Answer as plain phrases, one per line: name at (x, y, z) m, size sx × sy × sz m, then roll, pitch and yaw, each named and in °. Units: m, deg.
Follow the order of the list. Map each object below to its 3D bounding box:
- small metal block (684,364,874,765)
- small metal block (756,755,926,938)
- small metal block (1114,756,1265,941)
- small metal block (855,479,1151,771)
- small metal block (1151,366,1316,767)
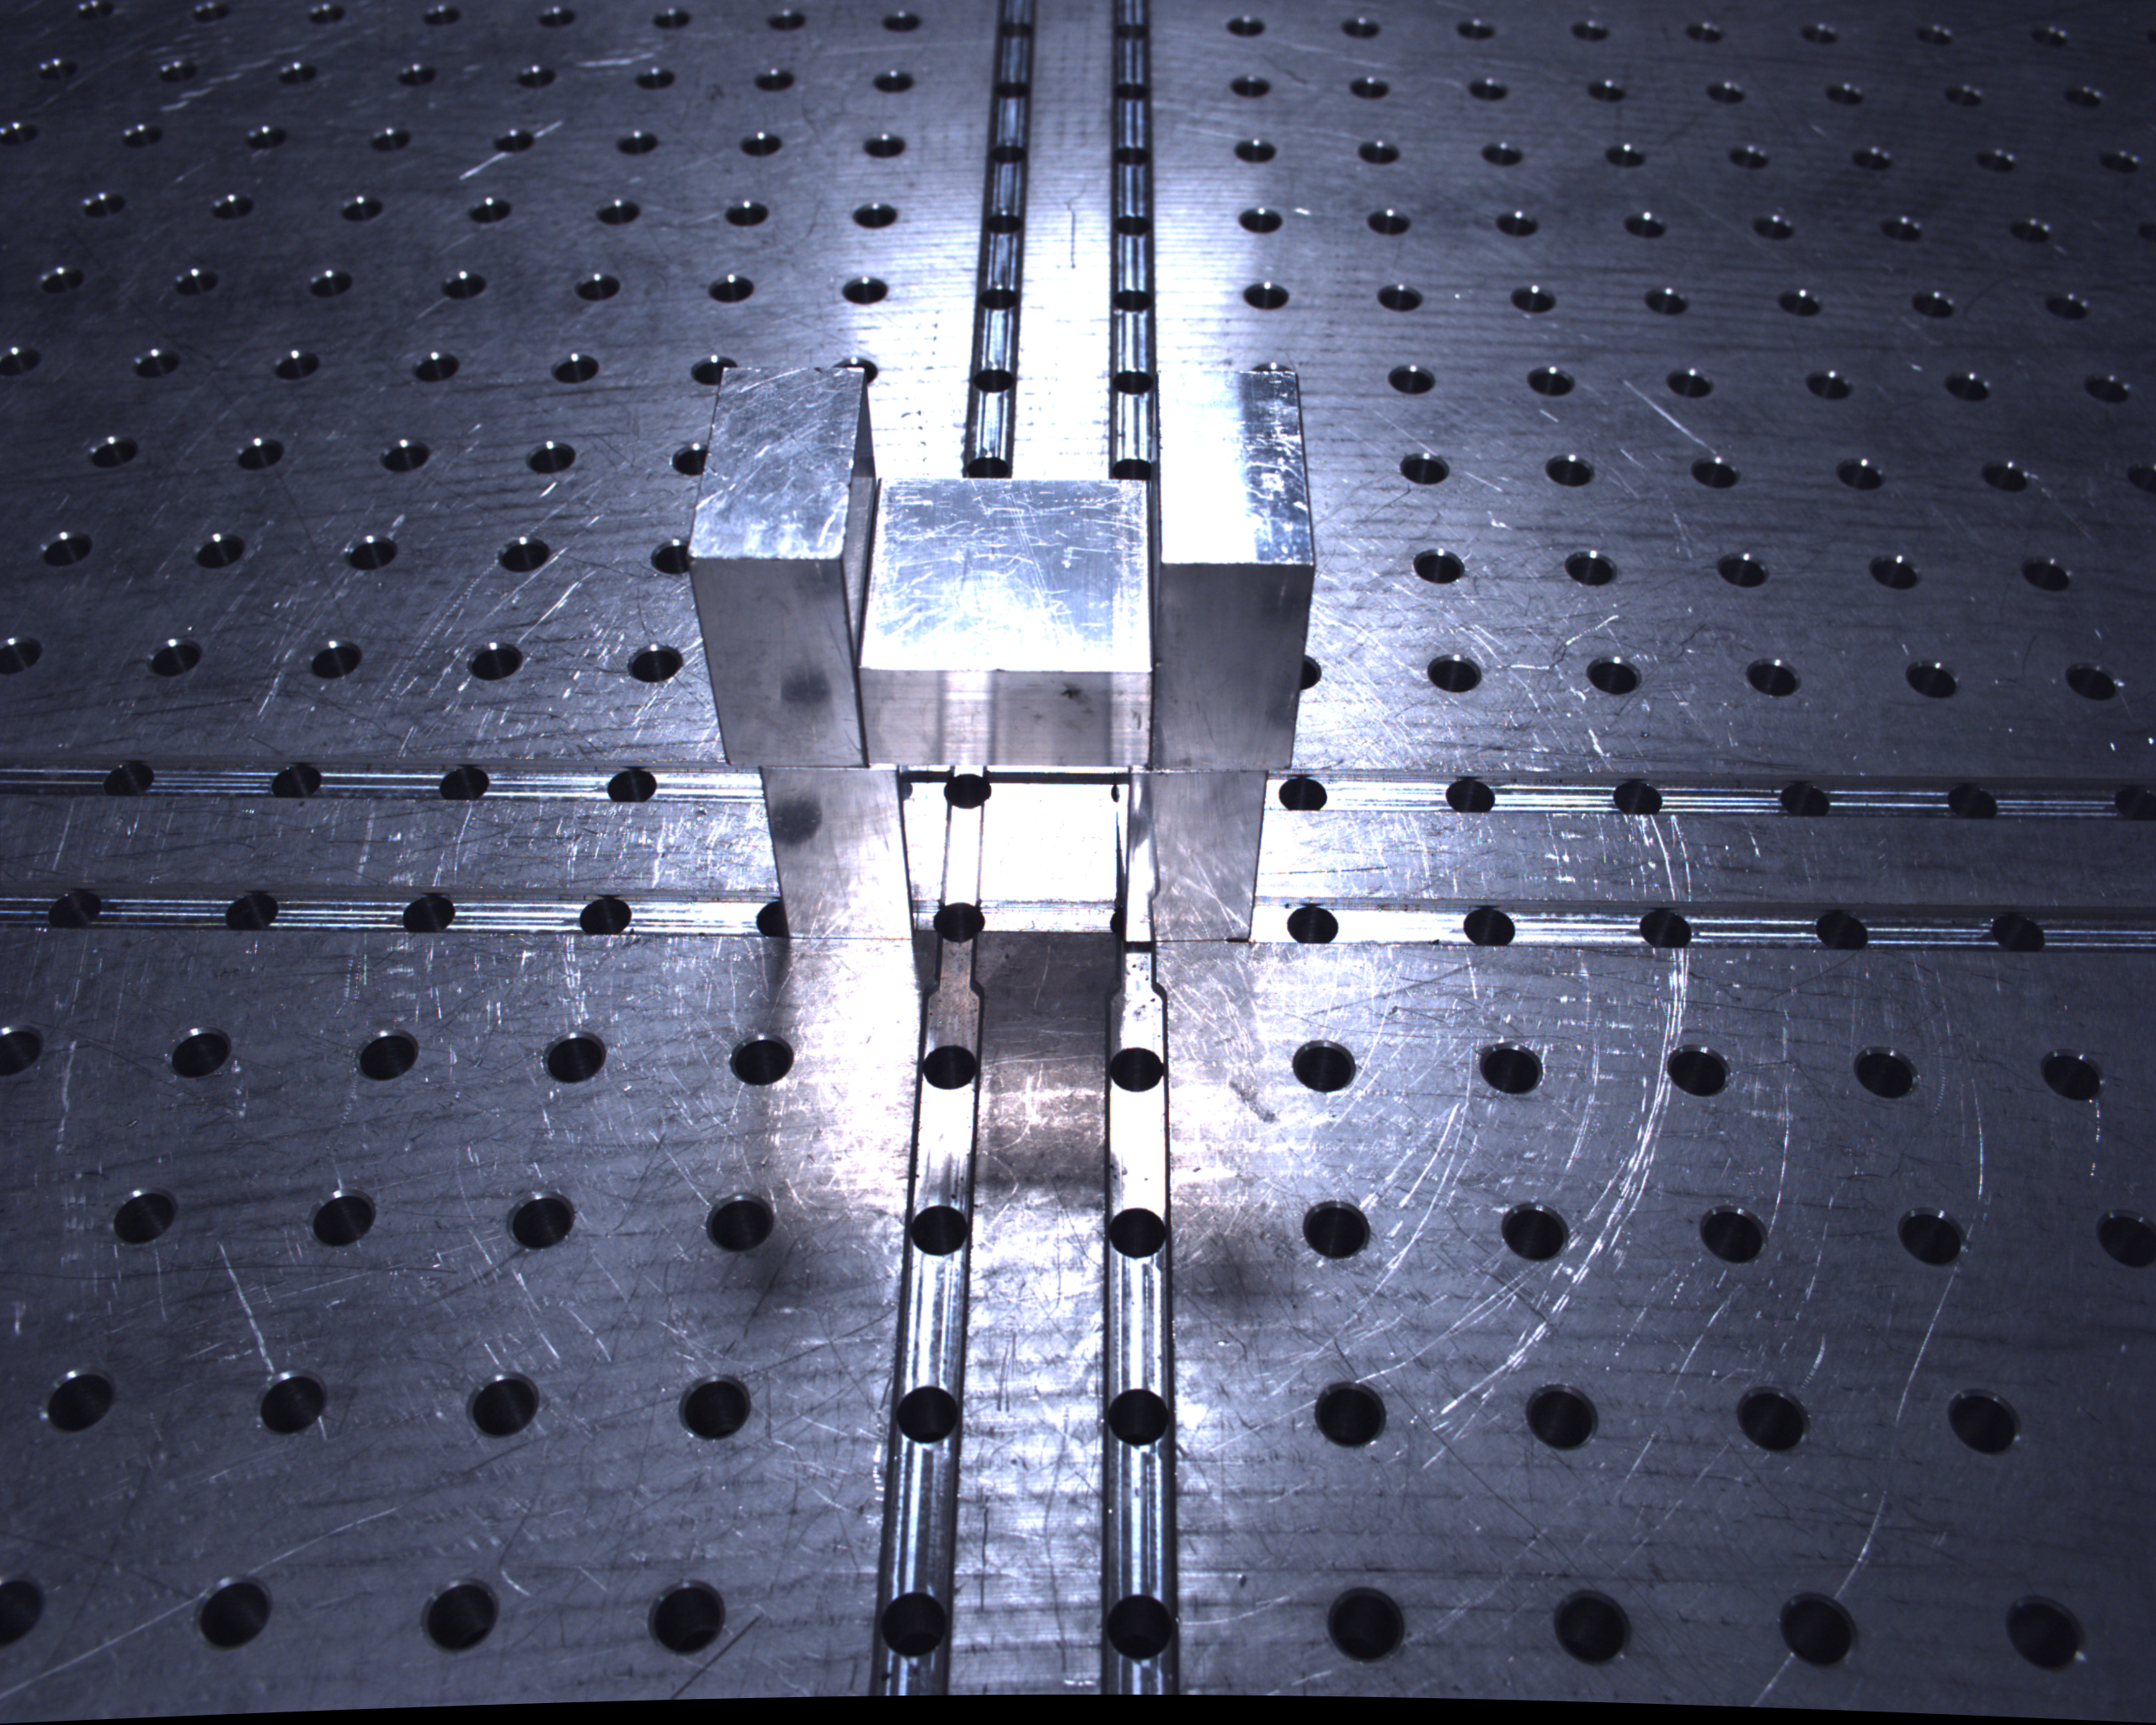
small metal block at (-0.050, -0.052, 0.369) m, size 0.025 × 0.050 × 0.050 m, roll 0°, pitch 50°, yaw 0°
small metal block at (-0.045, -0.020, 0.407) m, size 0.025 × 0.050 × 0.050 m, roll 1°, pitch 50°, yaw 0°
small metal block at (0.020, -0.020, 0.408) m, size 0.025 × 0.050 × 0.050 m, roll -1°, pitch 50°, yaw -1°
small metal block at (-0.013, -0.044, 0.380) m, size 0.050 × 0.025 × 0.050 m, roll 1°, pitch 50°, yaw 0°
small metal block at (0.026, -0.052, 0.369) m, size 0.025 × 0.050 × 0.050 m, roll 0°, pitch 50°, yaw 0°
